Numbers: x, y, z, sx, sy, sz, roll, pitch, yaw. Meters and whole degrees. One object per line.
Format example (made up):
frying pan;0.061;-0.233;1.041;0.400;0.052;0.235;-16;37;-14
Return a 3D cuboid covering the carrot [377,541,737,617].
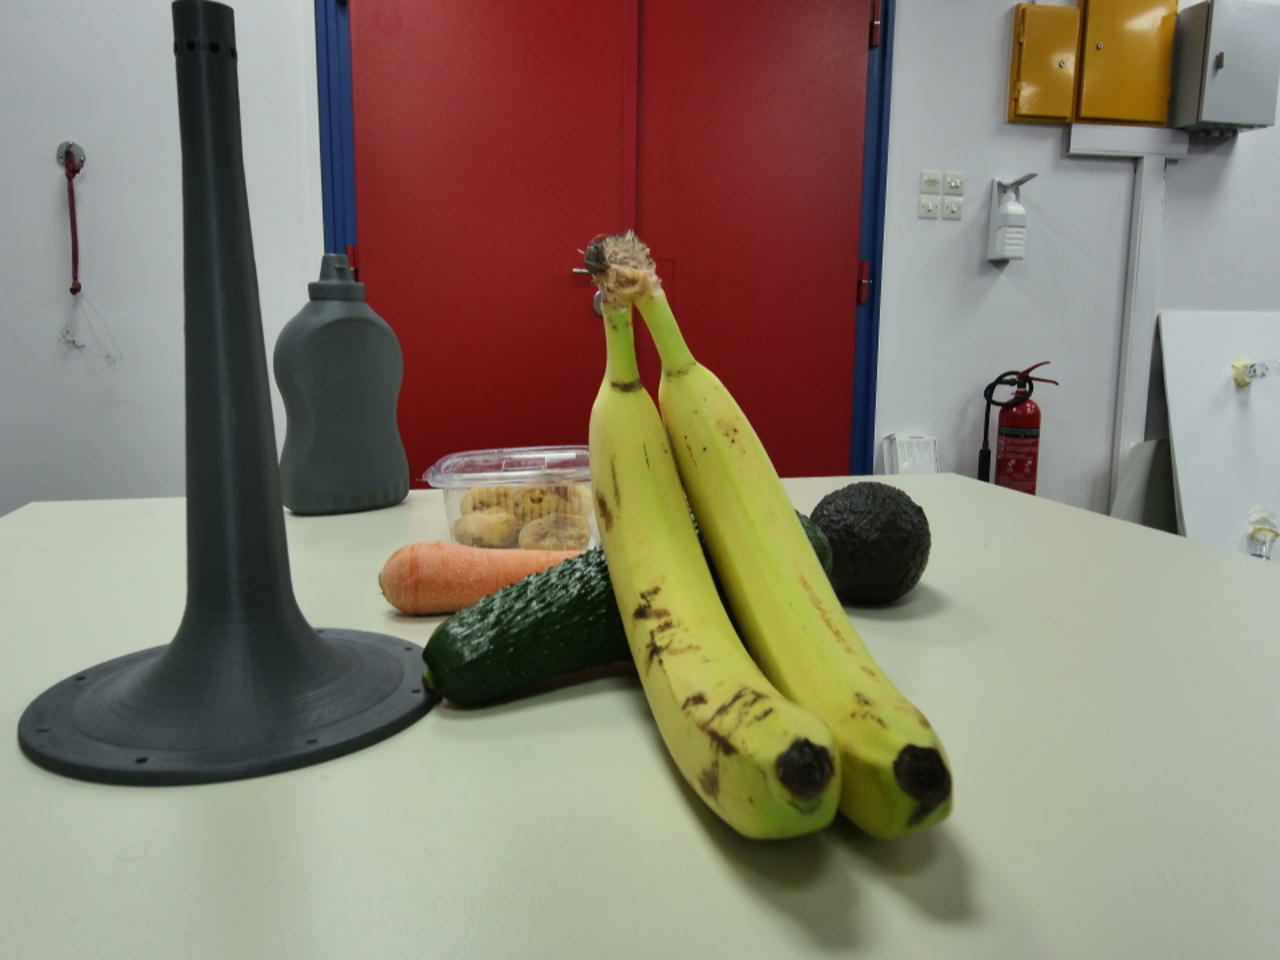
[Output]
carrot;-0.041;0.050;0.546;0.196;0.041;0.039;-2;7;-13
